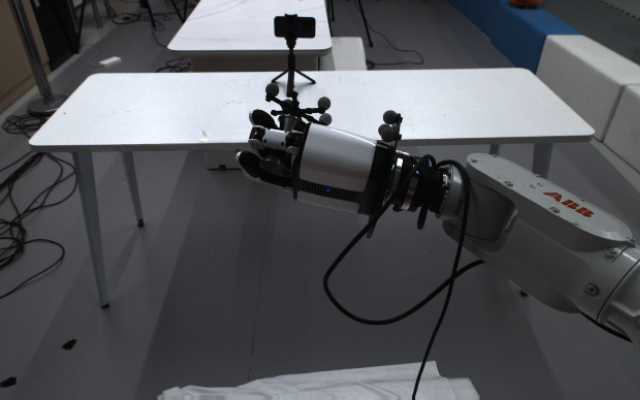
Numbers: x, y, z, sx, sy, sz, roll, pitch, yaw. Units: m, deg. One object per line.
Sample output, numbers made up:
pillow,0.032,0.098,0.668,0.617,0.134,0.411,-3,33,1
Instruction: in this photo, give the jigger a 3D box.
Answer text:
jigger,-0.046,-0.070,0.615,0.043,0.043,0.071,12,71,14
